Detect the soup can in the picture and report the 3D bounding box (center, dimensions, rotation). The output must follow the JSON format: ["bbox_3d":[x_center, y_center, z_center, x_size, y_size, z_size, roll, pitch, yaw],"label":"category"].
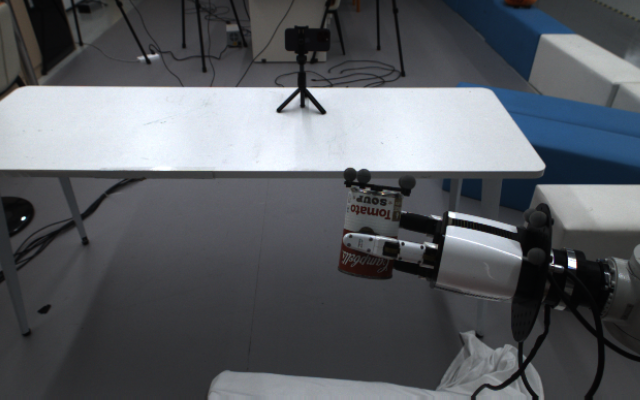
[{"bbox_3d":[0.063,0.038,0.588,0.067,0.101,0.067,7,4,0],"label":"soup can"}]
